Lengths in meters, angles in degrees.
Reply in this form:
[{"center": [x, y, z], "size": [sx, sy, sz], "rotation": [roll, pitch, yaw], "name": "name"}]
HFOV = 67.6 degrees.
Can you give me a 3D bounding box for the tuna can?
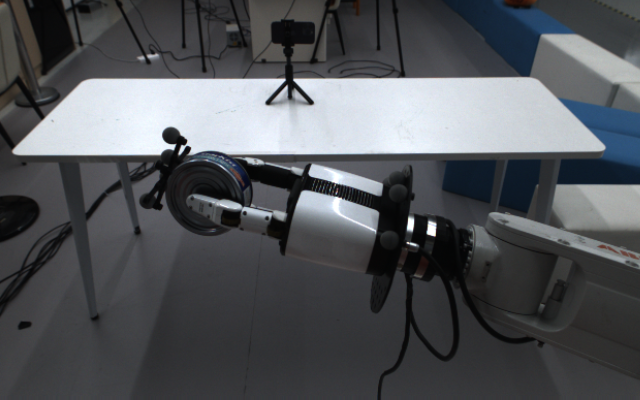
[{"center": [-0.112, -0.001, 0.507], "size": [0.085, 0.085, 0.034], "rotation": [6, 20, 5], "name": "tuna can"}]
